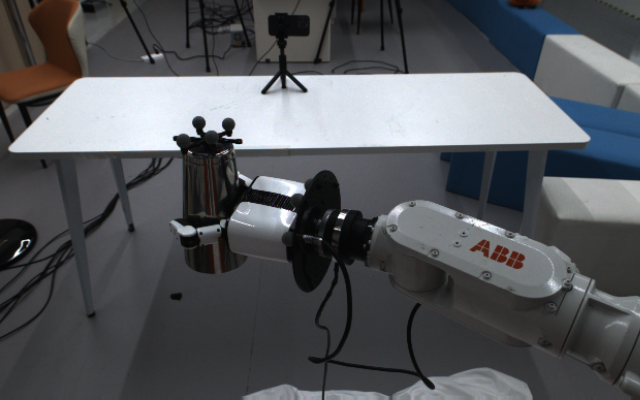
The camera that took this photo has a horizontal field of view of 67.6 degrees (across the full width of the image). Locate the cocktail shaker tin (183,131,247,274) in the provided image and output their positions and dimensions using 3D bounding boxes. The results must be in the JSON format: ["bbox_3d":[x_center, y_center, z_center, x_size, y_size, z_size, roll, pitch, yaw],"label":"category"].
[{"bbox_3d":[-0.146,0.005,0.665,0.093,0.170,0.093,2,28,-1],"label":"cocktail shaker tin"}]
